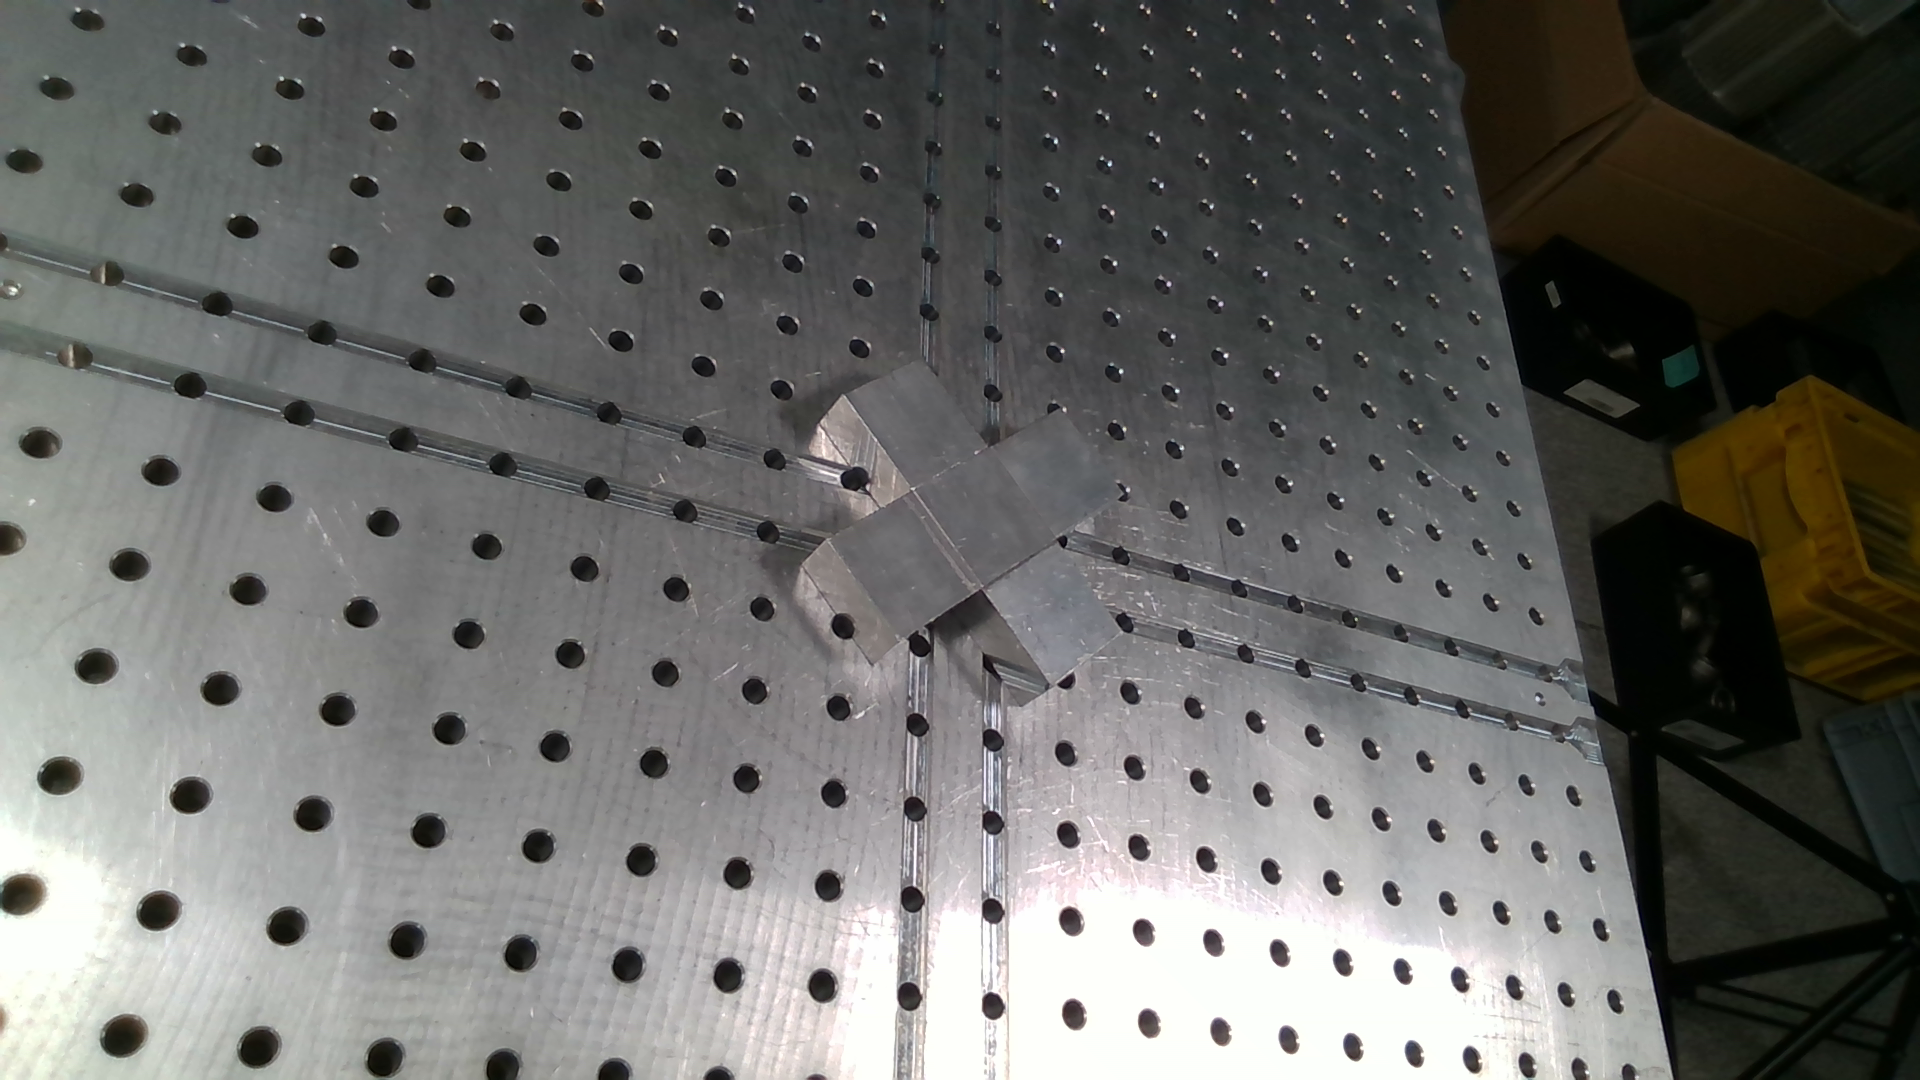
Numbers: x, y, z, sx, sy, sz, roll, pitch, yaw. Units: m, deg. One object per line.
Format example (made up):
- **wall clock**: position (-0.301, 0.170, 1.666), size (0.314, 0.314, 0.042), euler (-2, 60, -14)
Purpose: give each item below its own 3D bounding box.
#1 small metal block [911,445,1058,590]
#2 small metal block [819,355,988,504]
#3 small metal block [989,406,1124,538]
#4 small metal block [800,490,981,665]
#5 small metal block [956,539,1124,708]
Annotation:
- **small metal block**: position (0.005, -0.006, 0.594), size (0.050, 0.025, 0.050), euler (-32, 84, -39)
- **small metal block**: position (-0.025, -0.046, 0.599), size (0.050, 0.025, 0.050), euler (-32, 84, -39)
- **small metal block**: position (0.038, -0.026, 0.627), size (0.050, 0.025, 0.050), euler (-32, 84, -39)
- **small metal block**: position (-0.028, 0.015, 0.564), size (0.050, 0.025, 0.050), euler (-32, 84, -39)
- **small metal block**: position (0.034, 0.035, 0.590), size (0.050, 0.025, 0.050), euler (-32, 84, -39)
